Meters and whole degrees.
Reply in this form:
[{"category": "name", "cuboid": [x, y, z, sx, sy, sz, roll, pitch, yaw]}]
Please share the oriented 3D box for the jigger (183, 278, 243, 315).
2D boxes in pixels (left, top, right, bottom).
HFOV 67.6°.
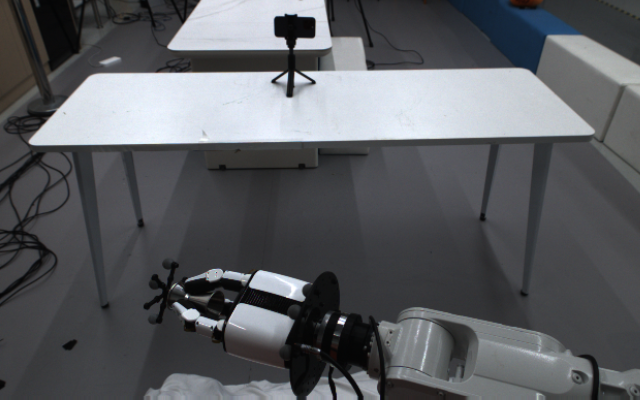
[{"category": "jigger", "cuboid": [-0.170, 0.140, 0.681, 0.071, 0.043, 0.043, 10, 35, 22]}]
